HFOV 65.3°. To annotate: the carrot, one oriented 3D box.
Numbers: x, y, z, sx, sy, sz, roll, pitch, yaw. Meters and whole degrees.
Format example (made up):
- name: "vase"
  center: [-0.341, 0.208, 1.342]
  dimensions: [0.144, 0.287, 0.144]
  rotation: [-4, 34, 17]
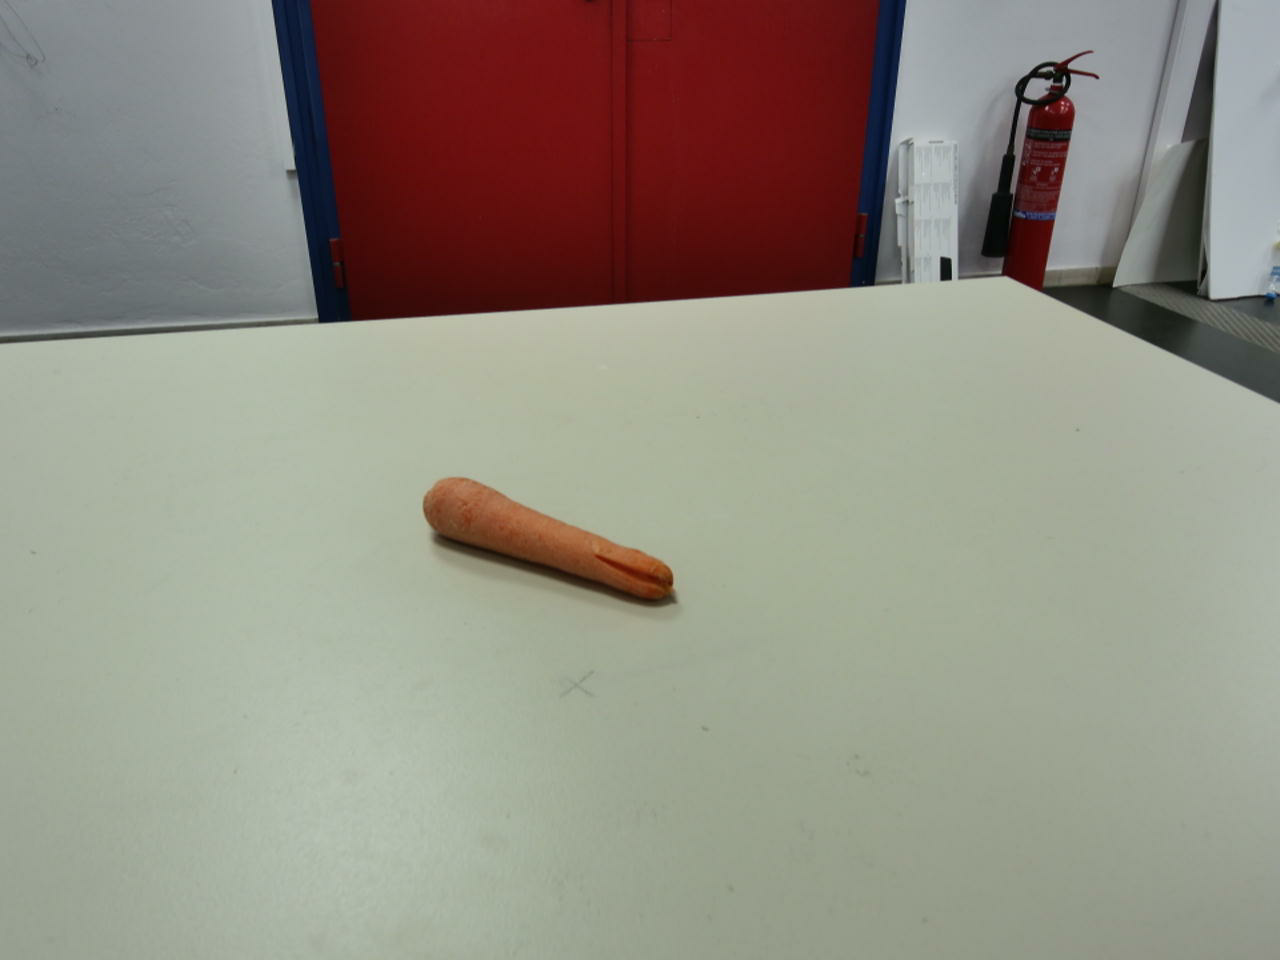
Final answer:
- name: "carrot"
  center: [-0.045, 0.025, 0.457]
  dimensions: [0.136, 0.032, 0.030]
  rotation: [15, 28, 29]
